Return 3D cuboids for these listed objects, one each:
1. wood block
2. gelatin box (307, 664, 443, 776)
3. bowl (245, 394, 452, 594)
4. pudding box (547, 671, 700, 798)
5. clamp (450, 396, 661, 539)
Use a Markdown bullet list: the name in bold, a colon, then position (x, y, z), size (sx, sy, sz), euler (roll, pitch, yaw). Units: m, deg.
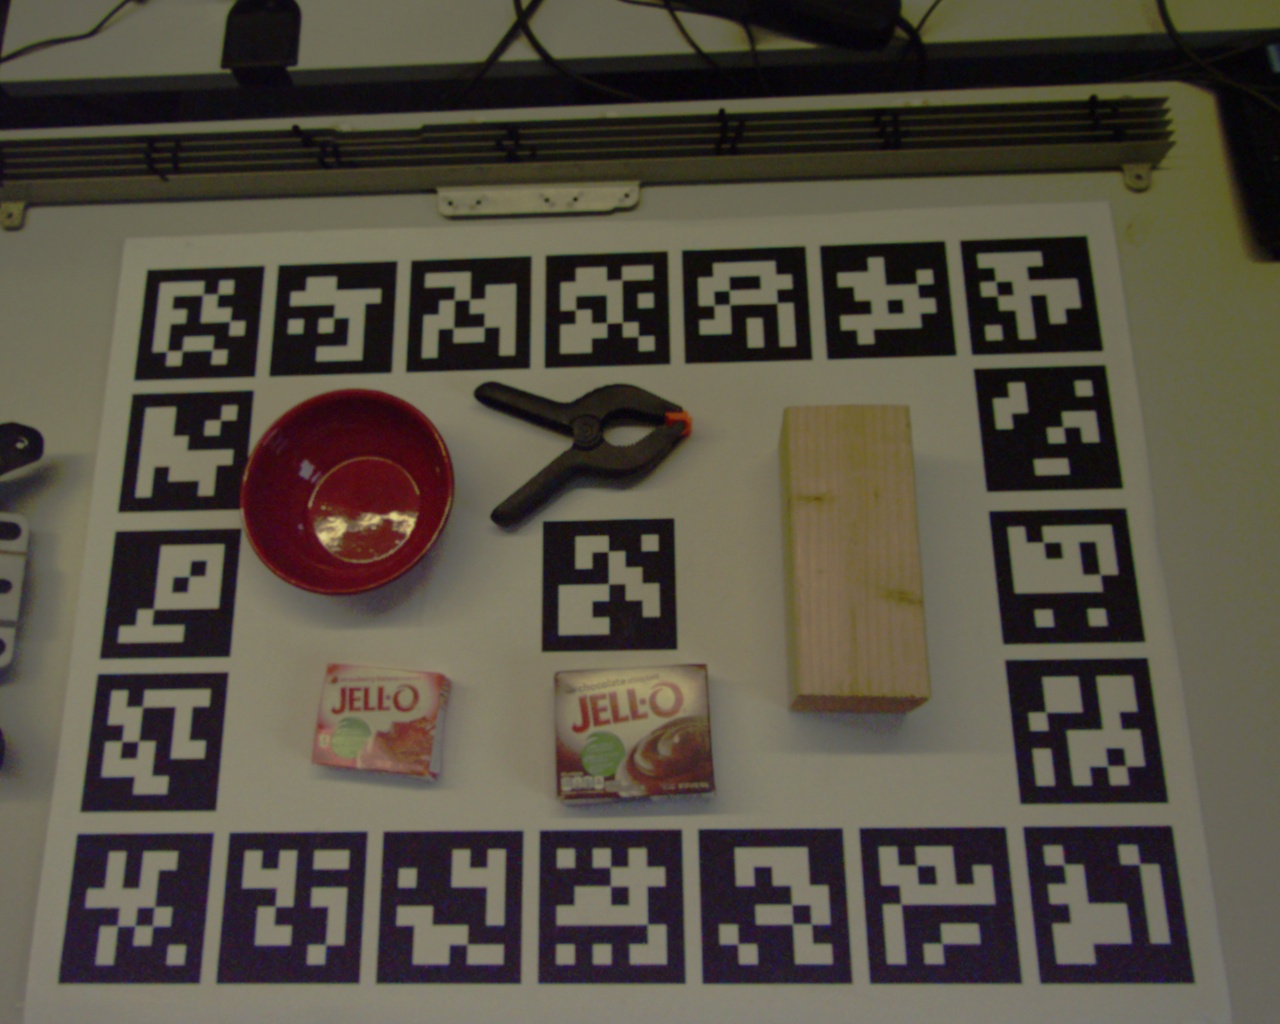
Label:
- **wood block**: position (0.144, 0.043, 0.843), size (0.090, 0.091, 0.206), euler (2, 74, 2)
- **gelatin box**: position (-0.199, 0.156, 0.861), size (0.089, 0.030, 0.073), euler (7, 76, 5)
- **bowl**: position (-0.225, -0.009, 0.905), size (0.162, 0.055, 0.162), euler (-1, 77, 2)
- **pudding box**: position (-0.013, 0.165, 0.845), size (0.114, 0.038, 0.090), euler (-2, 78, 5)
- **clamp**: position (-0.064, -0.049, 0.918), size (0.165, 0.036, 0.122), euler (-11, 73, -2)
